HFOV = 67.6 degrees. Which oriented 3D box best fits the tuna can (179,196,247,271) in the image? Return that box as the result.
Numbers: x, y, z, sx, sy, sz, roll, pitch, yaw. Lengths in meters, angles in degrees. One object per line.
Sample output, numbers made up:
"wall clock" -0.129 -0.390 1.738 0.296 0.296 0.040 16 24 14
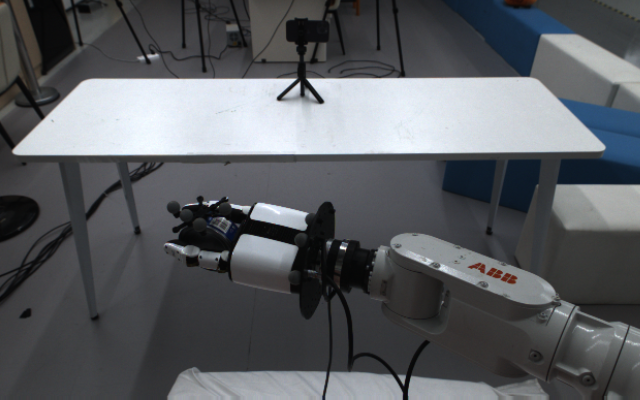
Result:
"tuna can" -0.150 0.059 0.678 0.085 0.085 0.034 10 38 12
